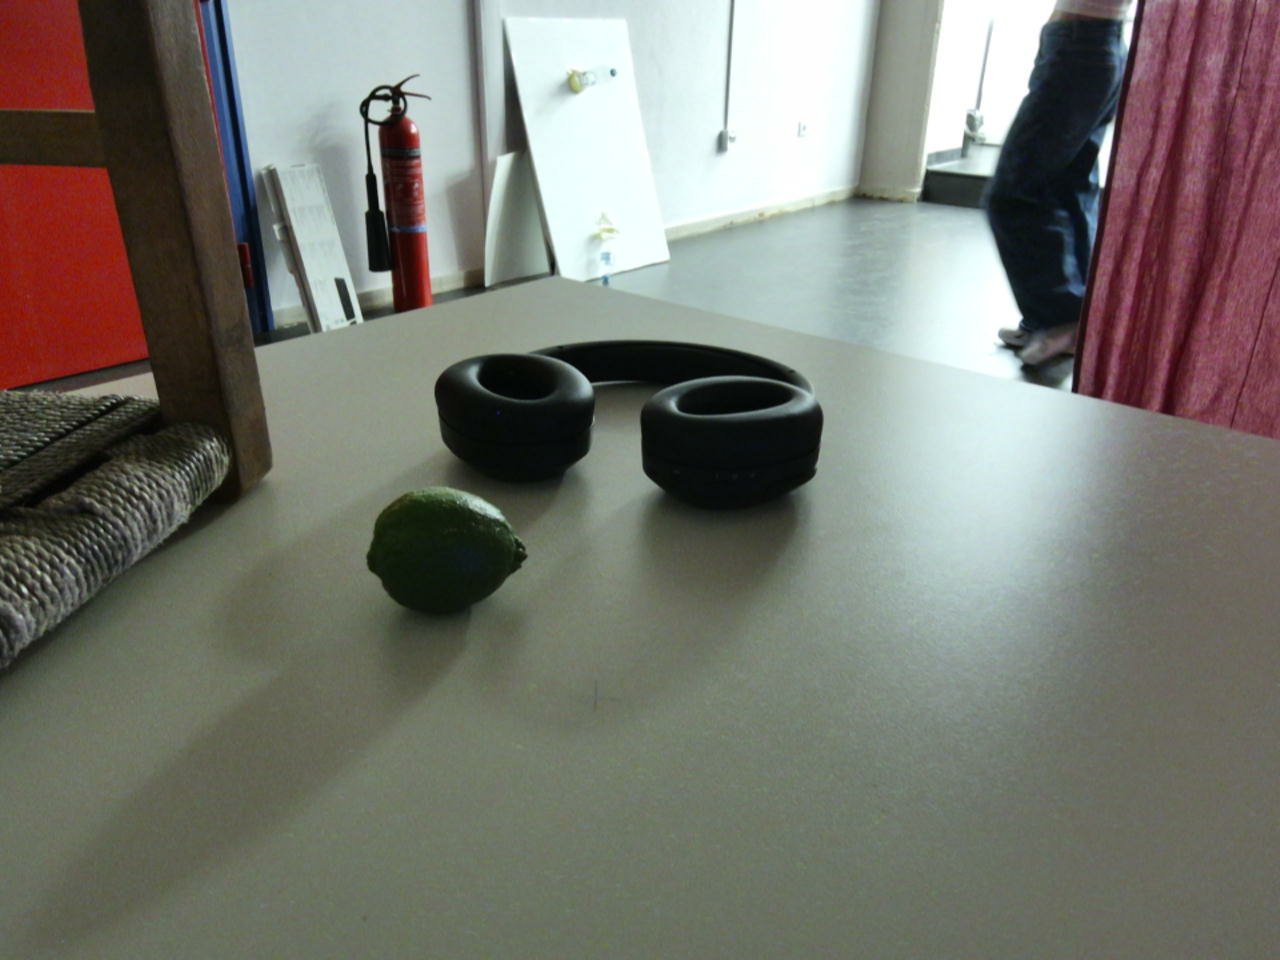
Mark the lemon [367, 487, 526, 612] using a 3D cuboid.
[{"bbox_3d":[-0.081,0.027,0.406,0.054,0.051,0.057,15,27,32],"label":"lemon"}]
